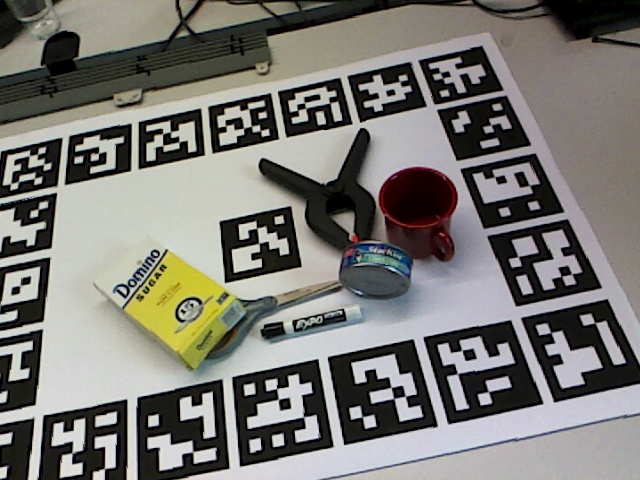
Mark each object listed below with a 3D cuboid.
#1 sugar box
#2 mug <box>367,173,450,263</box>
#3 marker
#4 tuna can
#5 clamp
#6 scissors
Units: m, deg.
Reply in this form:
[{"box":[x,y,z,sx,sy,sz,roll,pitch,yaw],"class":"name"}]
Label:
[{"box":[-0.185,0.075,0.770,0.177,0.045,0.093,33,67,32],"class":"sugar box"},{"box":[0.117,-0.016,0.770,0.093,0.081,0.118,-35,56,-14],"class":"mug"},{"box":[-0.022,0.105,0.747,0.121,0.019,0.020,-16,57,-1],"class":"marker"},{"box":[0.067,0.038,0.738,0.086,0.085,0.034,2,57,10],"class":"tuna can"},{"box":[0.016,-0.055,0.847,0.165,0.036,0.204,-21,57,-5],"class":"clamp"},{"box":[-0.074,0.080,0.769,0.202,0.016,0.088,-21,53,-7],"class":"scissors"}]
